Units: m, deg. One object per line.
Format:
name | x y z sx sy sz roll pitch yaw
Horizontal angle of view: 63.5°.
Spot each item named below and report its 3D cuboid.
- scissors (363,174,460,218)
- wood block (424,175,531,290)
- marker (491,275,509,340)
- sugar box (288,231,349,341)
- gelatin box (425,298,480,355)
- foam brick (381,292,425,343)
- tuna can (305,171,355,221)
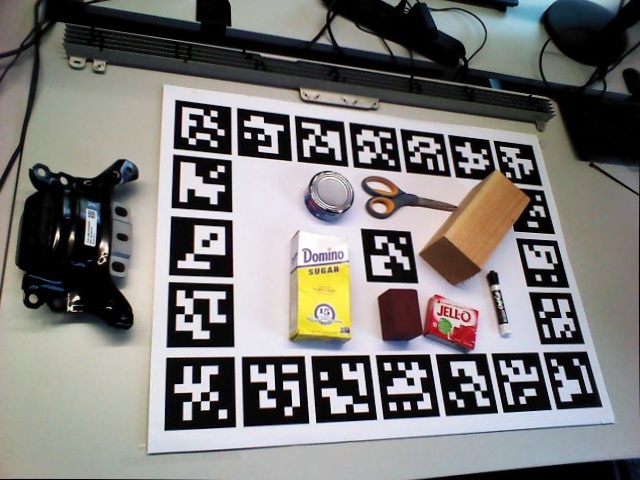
scissors | 0.177 -0.070 0.990 0.203 0.016 0.087 11 67 -13
wood block | 0.302 -0.015 0.973 0.090 0.091 0.205 44 62 2
marker | 0.335 0.124 0.964 0.019 0.020 0.120 5 70 -17
sugar box | 0.000 0.077 0.856 0.093 0.045 0.175 9 67 -17
gelatin box | 0.234 0.153 0.914 0.089 0.030 0.073 22 65 -10
foam brick | 0.140 0.132 0.873 0.052 0.052 0.077 6 69 -17
tuna can | 0.017 -0.078 0.924 0.085 0.034 0.085 6 68 -17
